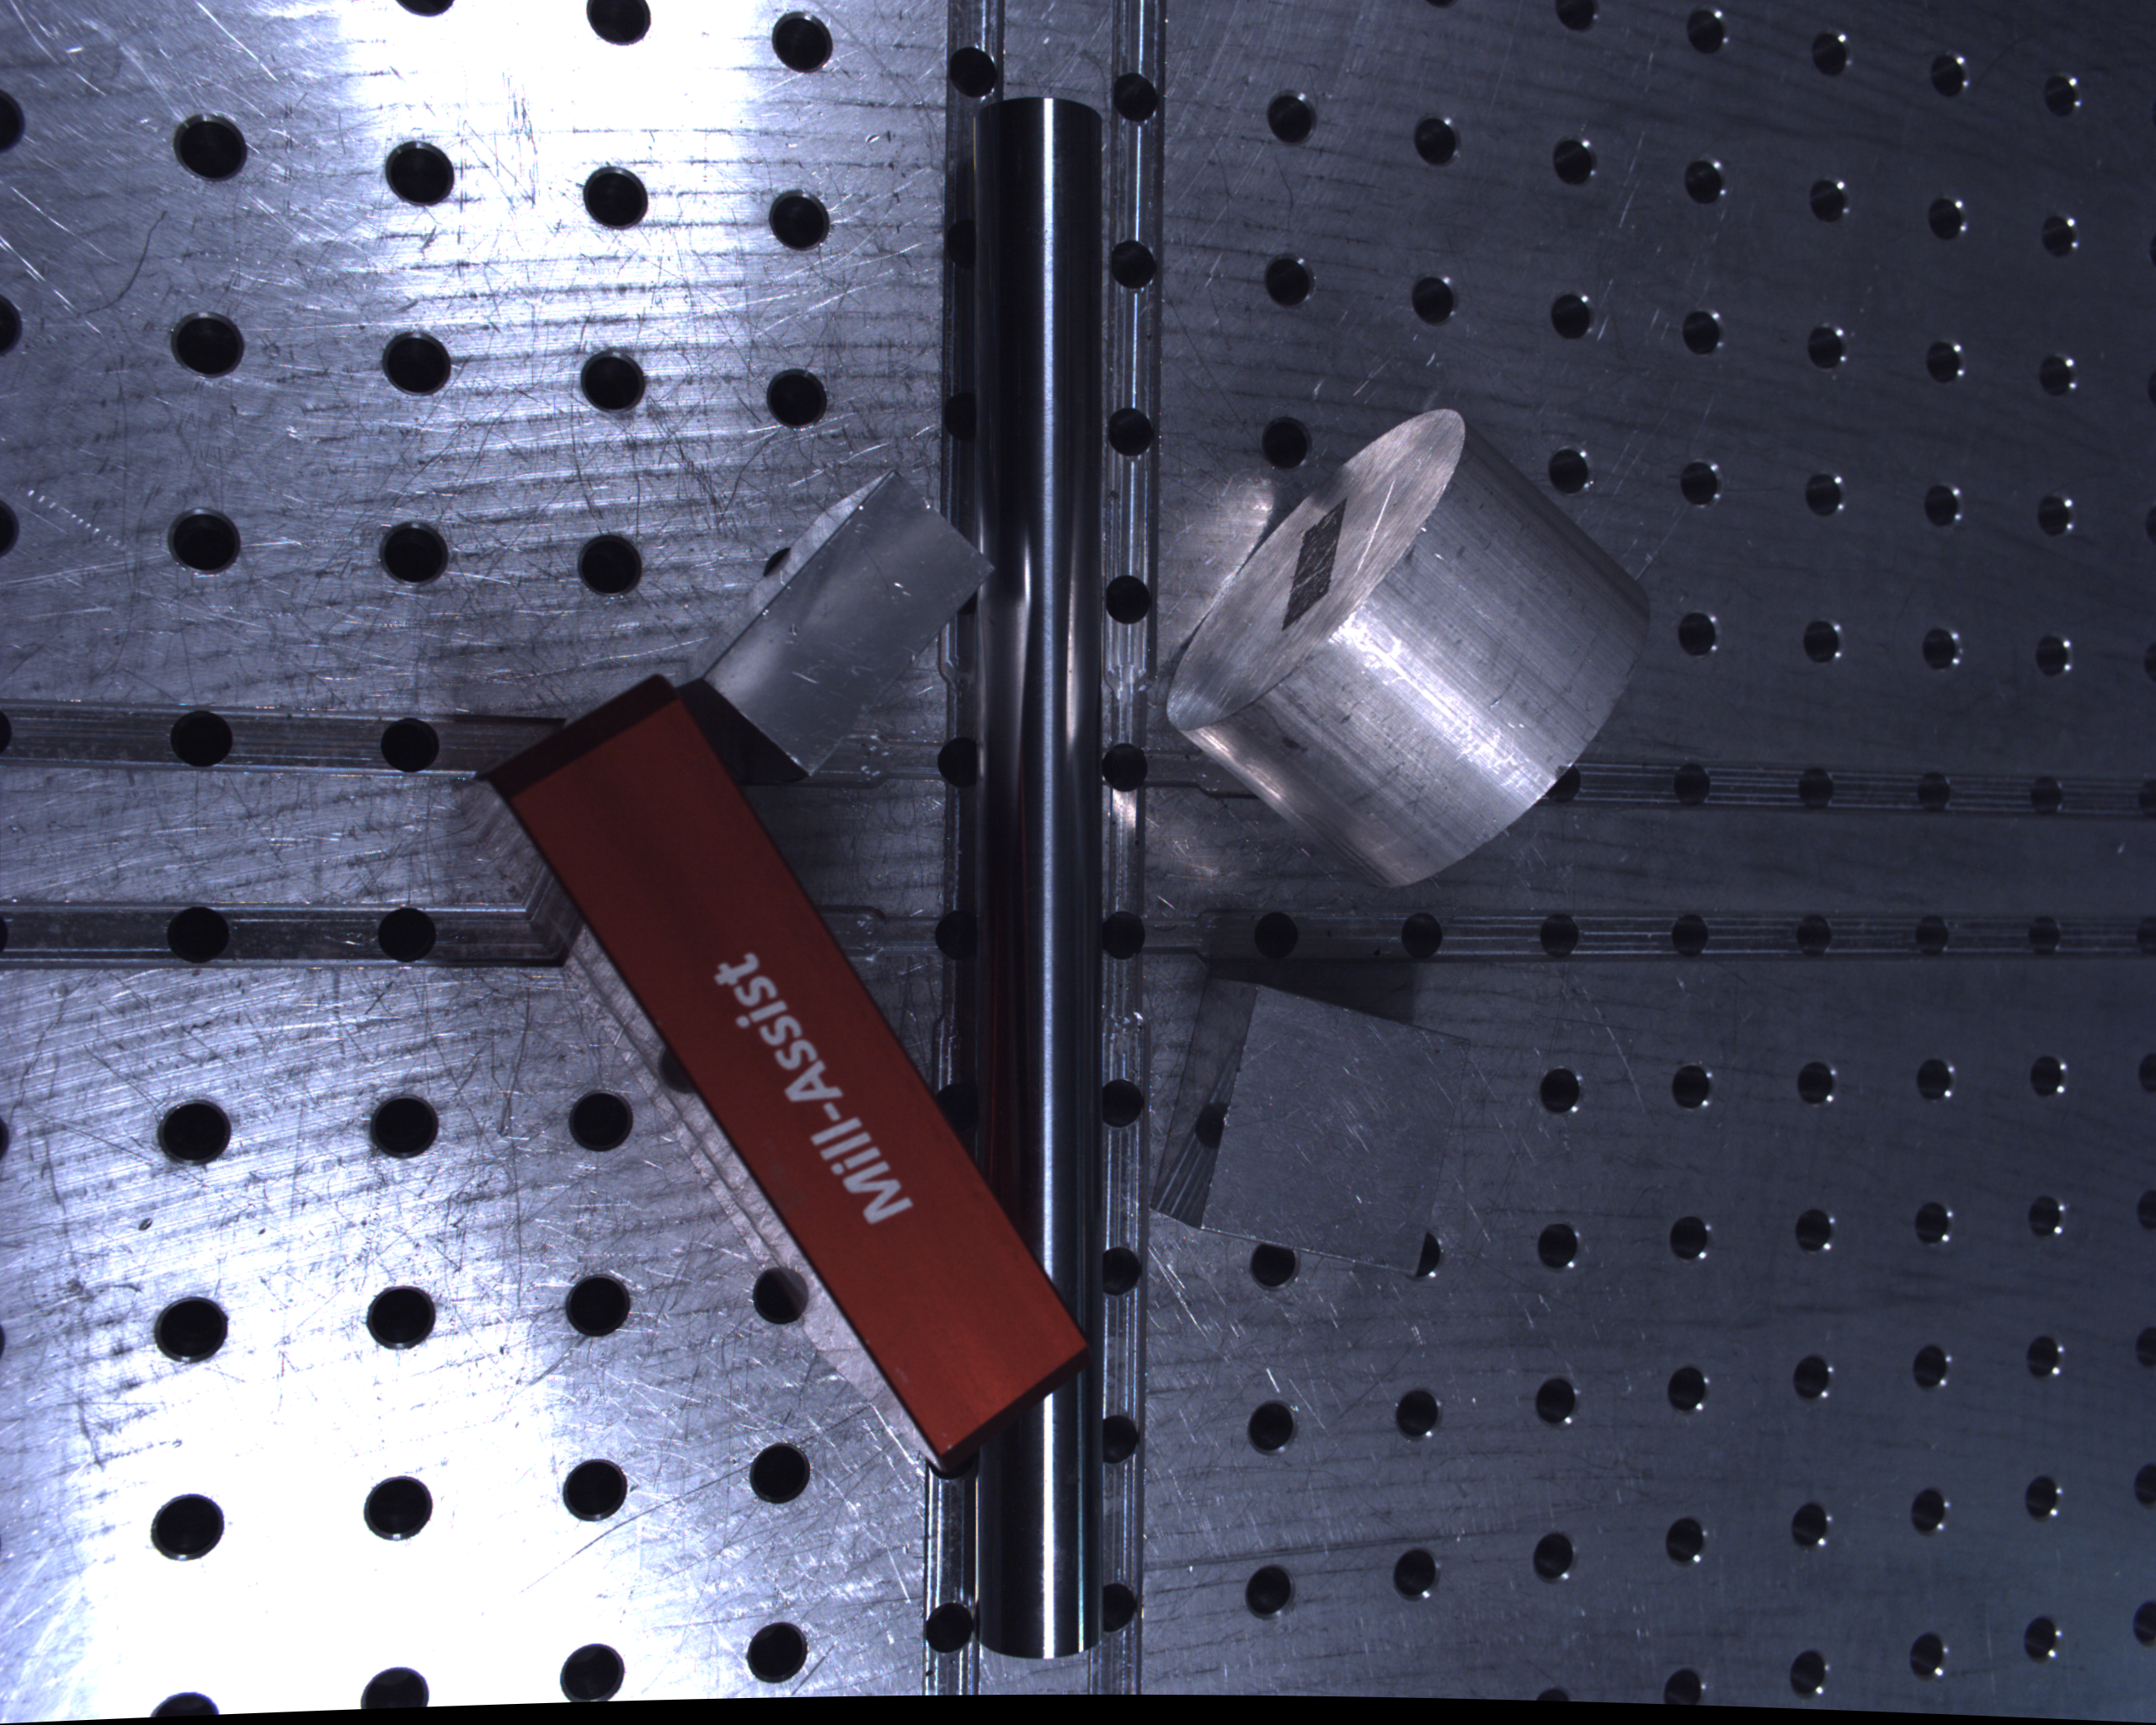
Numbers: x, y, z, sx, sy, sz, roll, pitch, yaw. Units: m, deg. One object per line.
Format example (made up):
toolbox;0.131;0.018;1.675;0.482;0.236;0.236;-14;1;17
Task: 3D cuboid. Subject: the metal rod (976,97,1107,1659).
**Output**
metal rod;-0.007;0.003;0.410;0.025;0.025;0.298;0;90;-20

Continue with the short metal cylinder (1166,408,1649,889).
short metal cylinder;0.063;-0.042;0.408;0.050;0.080;0.080;40;77;-16

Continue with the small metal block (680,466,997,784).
small metal block;-0.047;-0.042;0.382;0.025;0.050;0.050;43;76;-15

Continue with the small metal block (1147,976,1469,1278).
small metal block;0.048;0.054;0.432;0.050;0.025;0.050;16;85;-20

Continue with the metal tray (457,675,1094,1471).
metal tray;-0.055;0.034;0.358;0.030;0.090;0.130;-34;102;-17
